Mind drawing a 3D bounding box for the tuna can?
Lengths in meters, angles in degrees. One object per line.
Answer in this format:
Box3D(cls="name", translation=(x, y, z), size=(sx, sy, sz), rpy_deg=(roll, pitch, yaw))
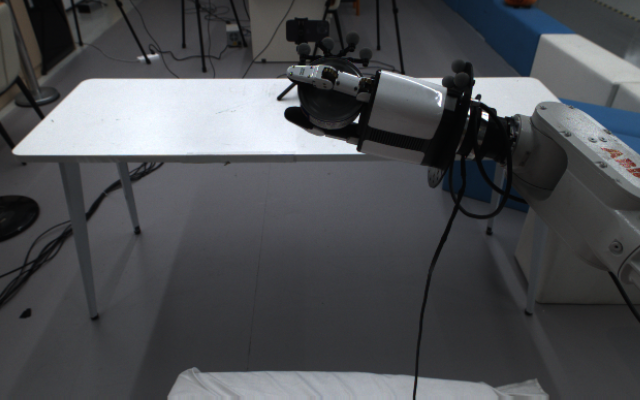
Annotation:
Box3D(cls="tuna can", translation=(0.015, -0.135, 0.611), size=(0.085, 0.034, 0.085), rpy_deg=(0, 75, 0))
